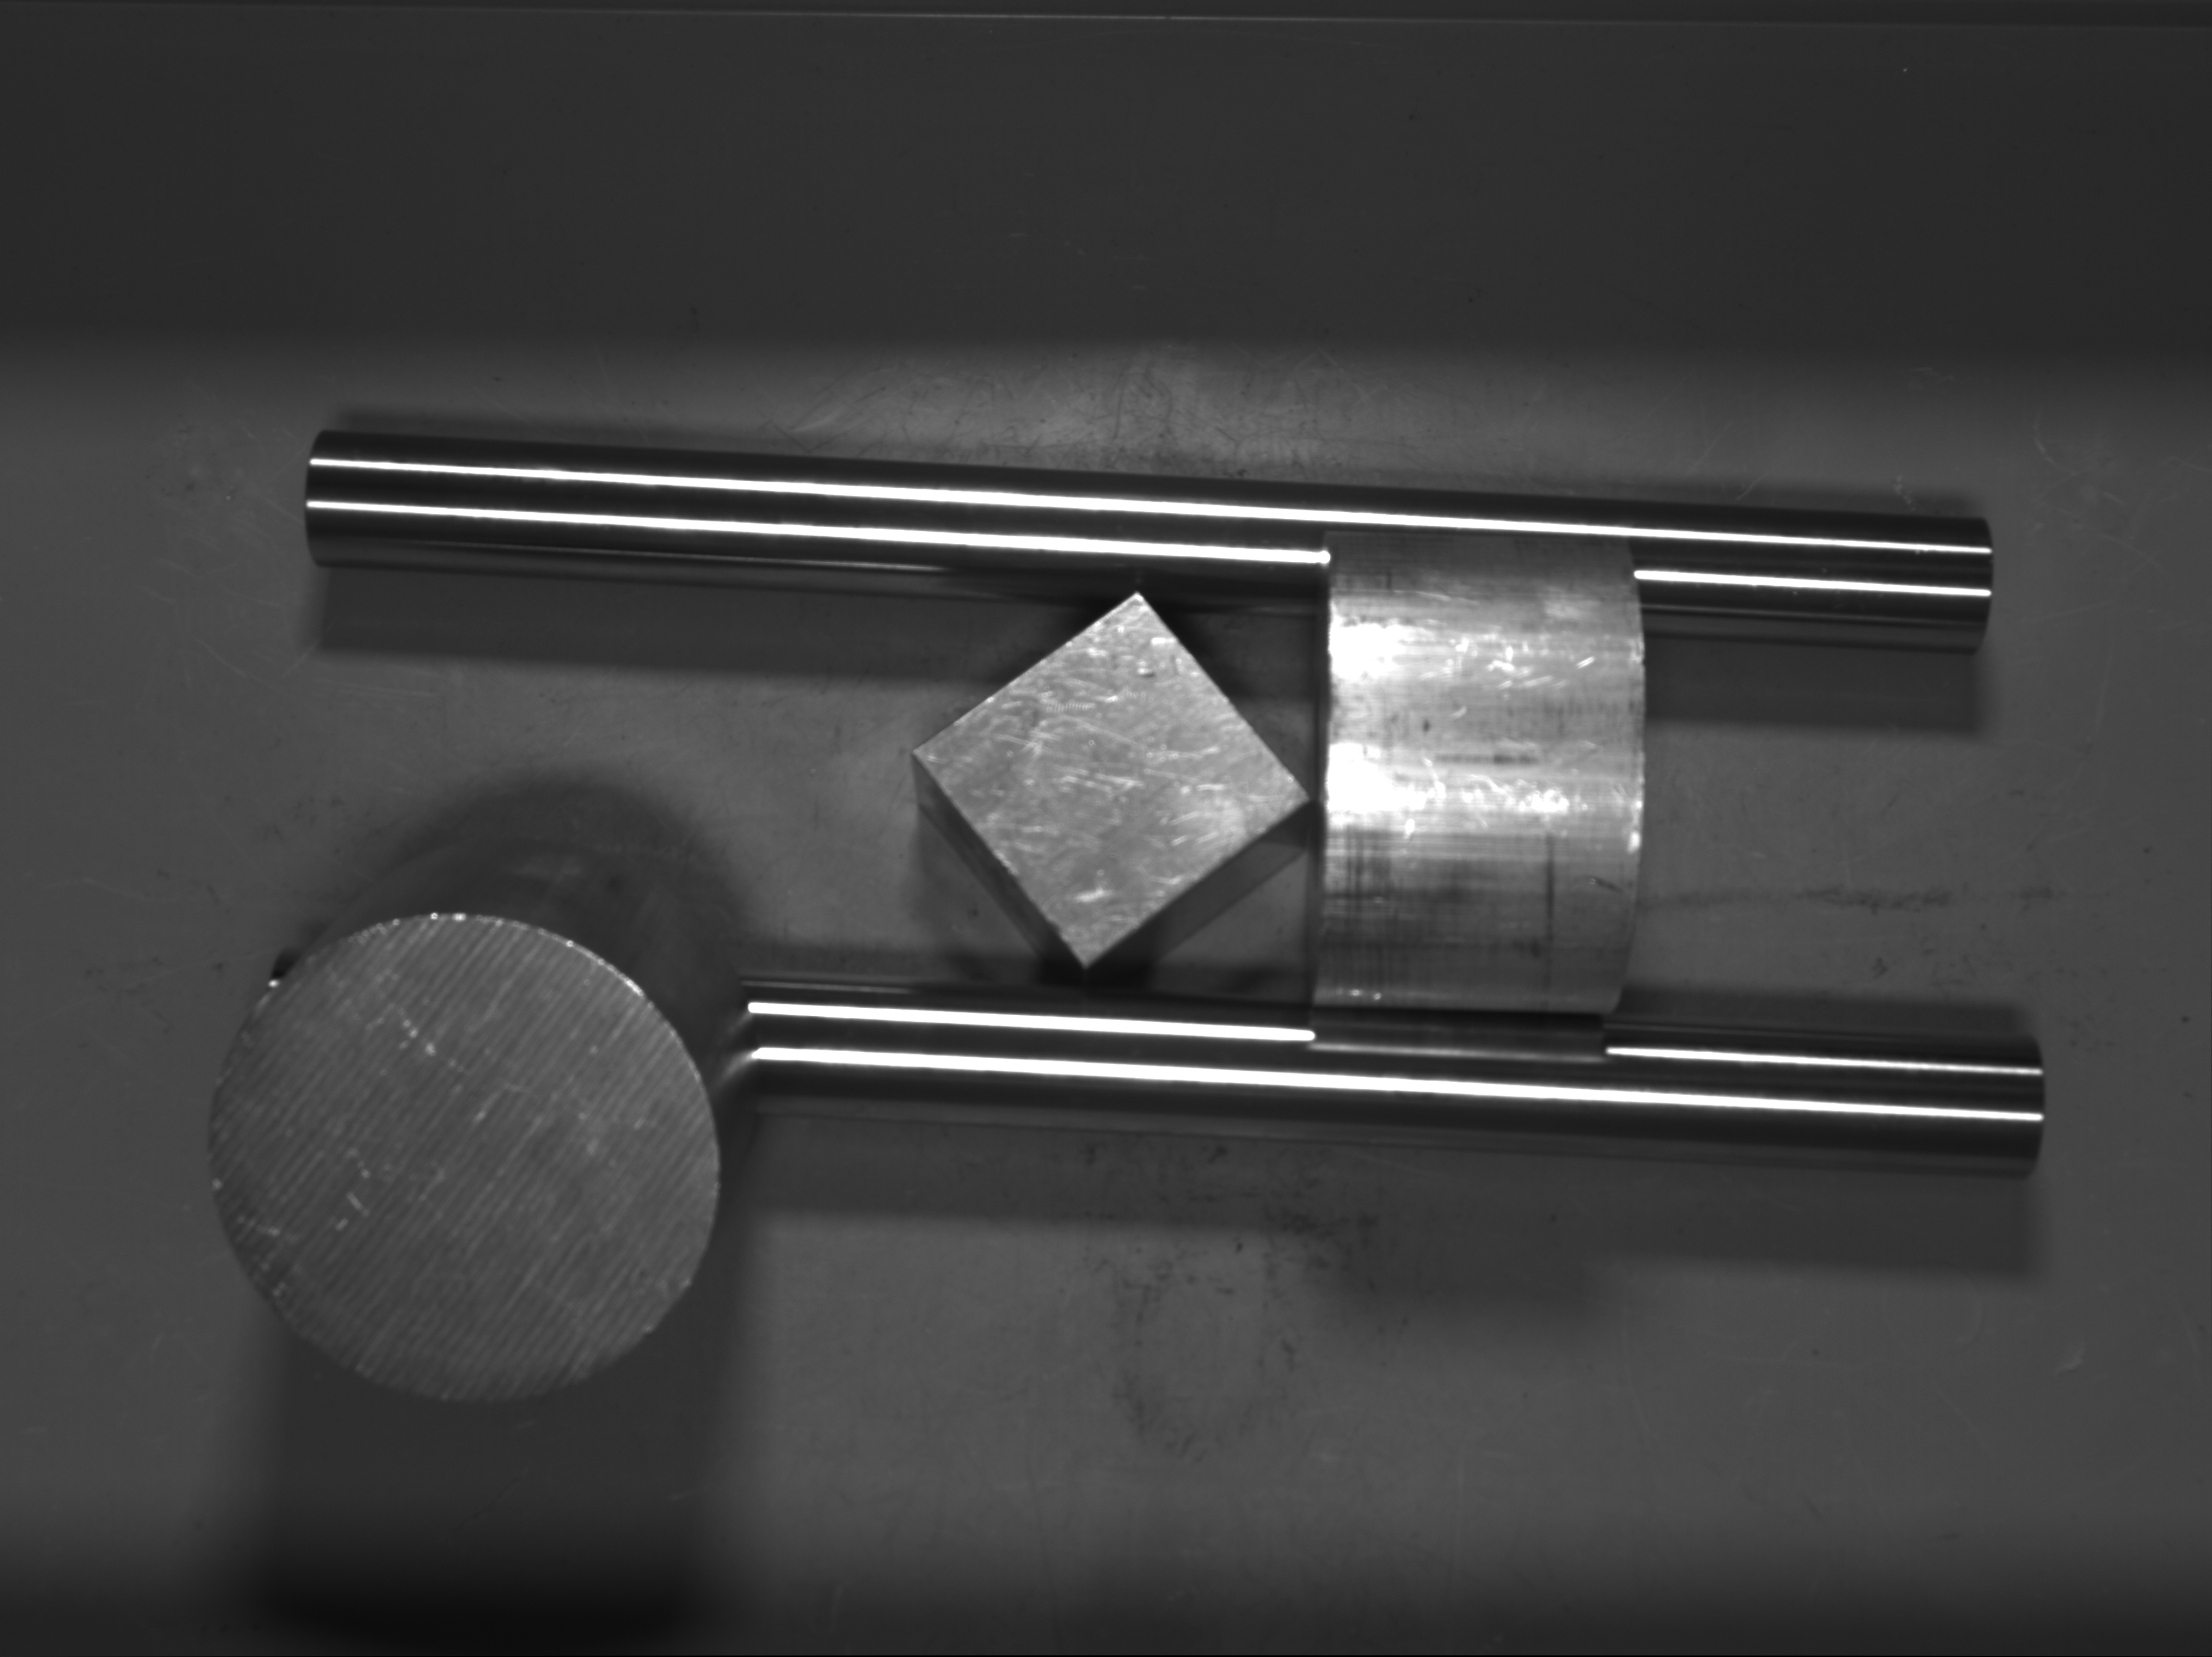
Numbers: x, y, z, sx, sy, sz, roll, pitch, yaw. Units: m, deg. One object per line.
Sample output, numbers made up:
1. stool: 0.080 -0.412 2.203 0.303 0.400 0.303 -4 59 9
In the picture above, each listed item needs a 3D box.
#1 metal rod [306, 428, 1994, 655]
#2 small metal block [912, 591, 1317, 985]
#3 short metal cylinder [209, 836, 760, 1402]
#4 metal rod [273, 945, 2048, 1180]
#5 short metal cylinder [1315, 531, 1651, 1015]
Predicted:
1. metal rod: 0.007 -0.052 0.662 0.300 0.025 0.025 3 70 1
2. small metal block: 0.001 -0.005 0.645 0.050 0.025 0.050 -36 74 -12
3. short metal cylinder: -0.099 0.046 0.595 0.080 0.050 0.080 0 104 2
4. metal rod: 0.008 0.040 0.628 0.300 0.025 0.025 3 70 1
5. short metal cylinder: 0.061 -0.009 0.618 0.050 0.080 0.080 2 70 1
